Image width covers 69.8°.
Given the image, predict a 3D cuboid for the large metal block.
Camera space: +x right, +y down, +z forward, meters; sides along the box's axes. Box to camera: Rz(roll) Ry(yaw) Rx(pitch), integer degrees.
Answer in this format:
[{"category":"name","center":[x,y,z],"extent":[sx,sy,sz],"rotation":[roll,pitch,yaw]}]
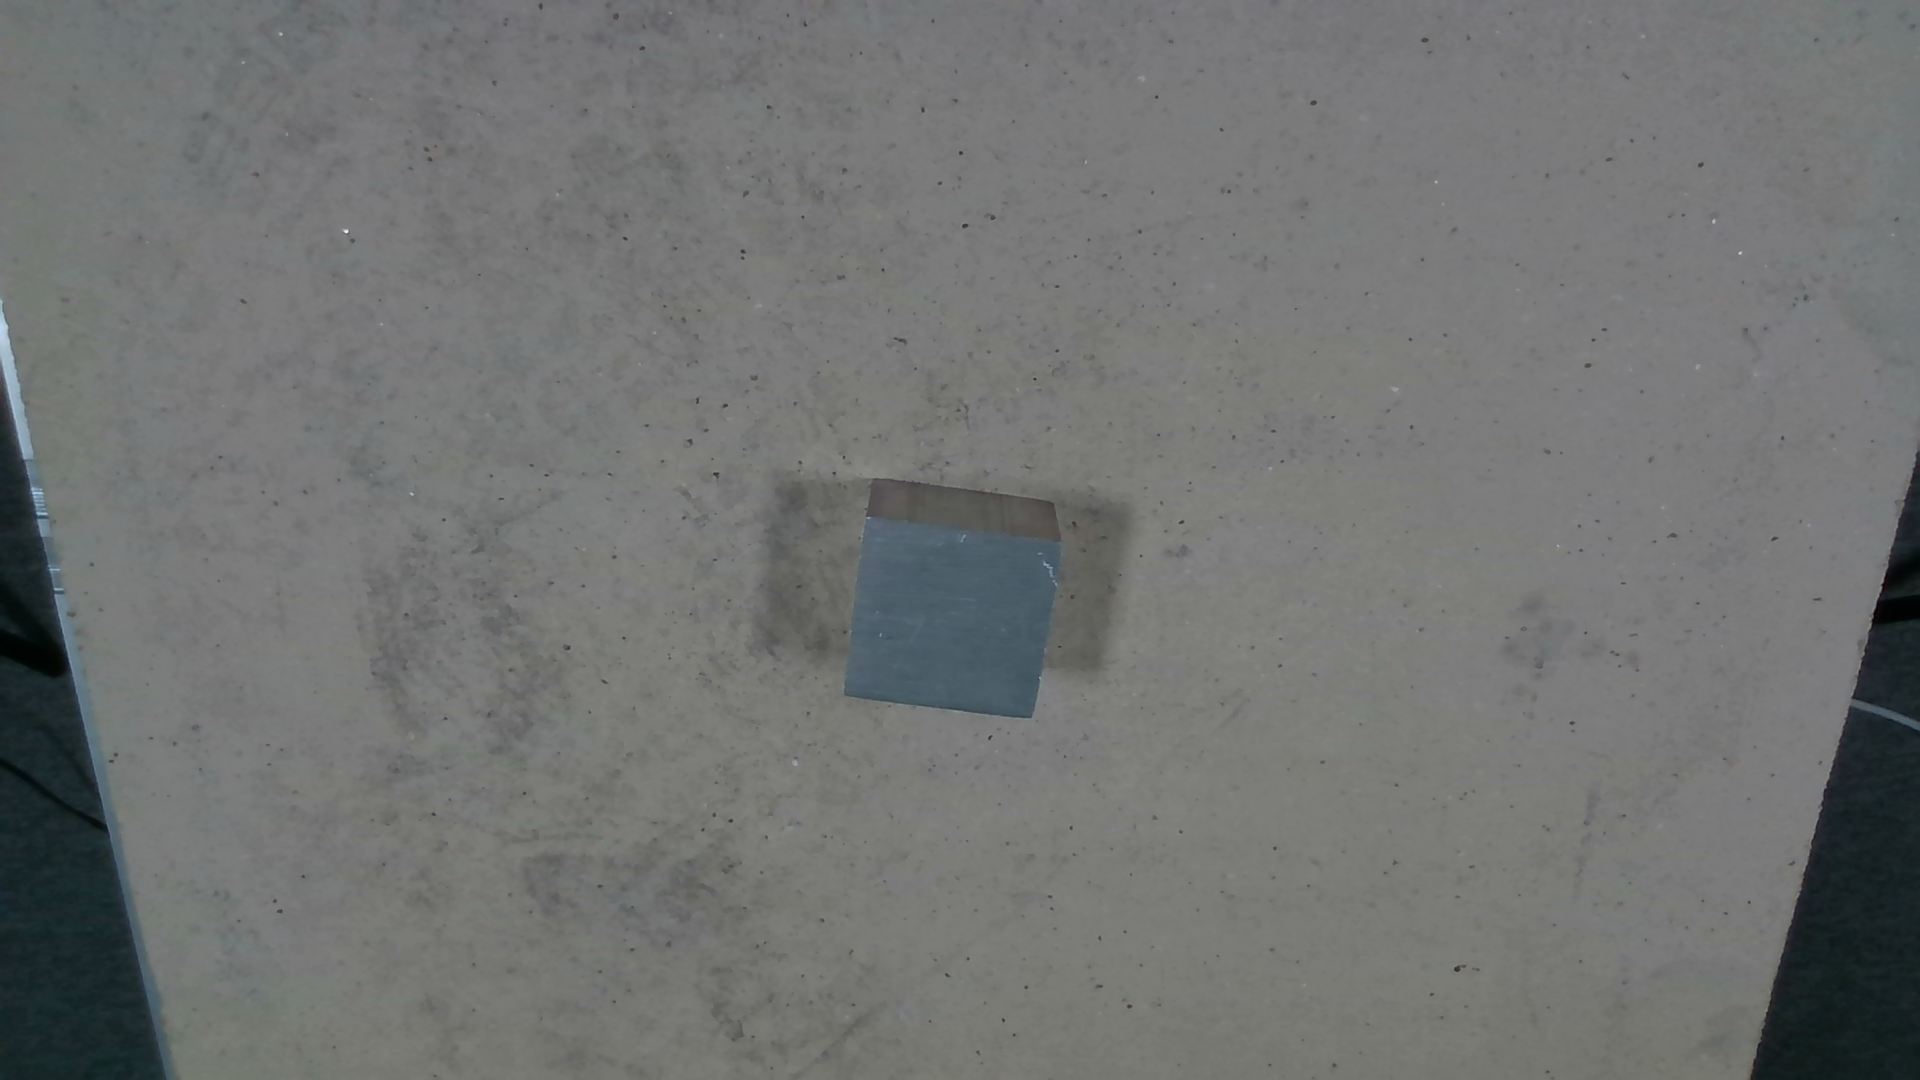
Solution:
[{"category":"large metal block","center":[-0.004,0.024,0.580],"extent":[0.080,0.050,0.080],"rotation":[7,110,-3]}]
